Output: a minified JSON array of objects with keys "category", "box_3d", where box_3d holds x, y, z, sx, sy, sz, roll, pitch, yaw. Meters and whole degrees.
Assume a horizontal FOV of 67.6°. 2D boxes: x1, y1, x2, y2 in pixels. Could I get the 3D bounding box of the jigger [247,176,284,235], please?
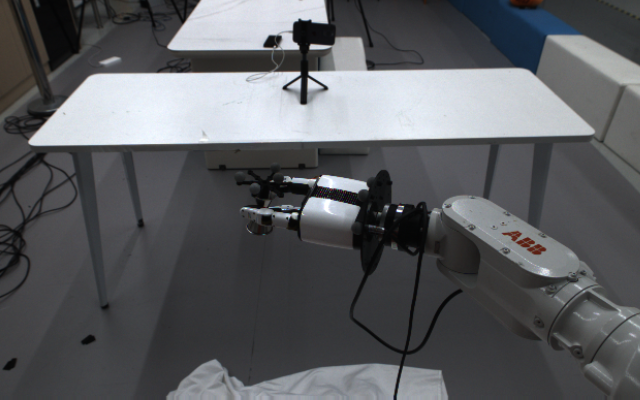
[{"category":"jigger","box_3d":[-0.095,0.017,0.781,0.043,0.071,0.043,9,30,-5]}]
